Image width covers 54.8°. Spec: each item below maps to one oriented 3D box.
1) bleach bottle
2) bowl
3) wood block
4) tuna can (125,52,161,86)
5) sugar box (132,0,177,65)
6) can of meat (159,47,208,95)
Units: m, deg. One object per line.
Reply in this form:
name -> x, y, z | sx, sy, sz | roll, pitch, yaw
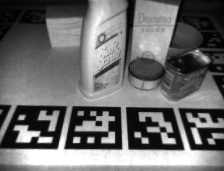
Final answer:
bleach bottle -> -0.024, -0.098, 0.425 | 0.103, 0.252, 0.067 | -20, 48, -19
bowl -> 0.174, -0.148, 0.622 | 0.161, 0.055, 0.161 | -1, 45, 2
wood block -> -0.085, -0.191, 0.630 | 0.207, 0.090, 0.090 | -6, 50, -10
tuna can -> 0.074, -0.041, 0.522 | 0.086, 0.034, 0.085 | 1, 49, -1
sugar box -> 0.096, -0.134, 0.515 | 0.092, 0.177, 0.045 | 13, 49, 15
can of meat -> 0.160, -0.035, 0.496 | 0.103, 0.084, 0.057 | -22, 47, -24
